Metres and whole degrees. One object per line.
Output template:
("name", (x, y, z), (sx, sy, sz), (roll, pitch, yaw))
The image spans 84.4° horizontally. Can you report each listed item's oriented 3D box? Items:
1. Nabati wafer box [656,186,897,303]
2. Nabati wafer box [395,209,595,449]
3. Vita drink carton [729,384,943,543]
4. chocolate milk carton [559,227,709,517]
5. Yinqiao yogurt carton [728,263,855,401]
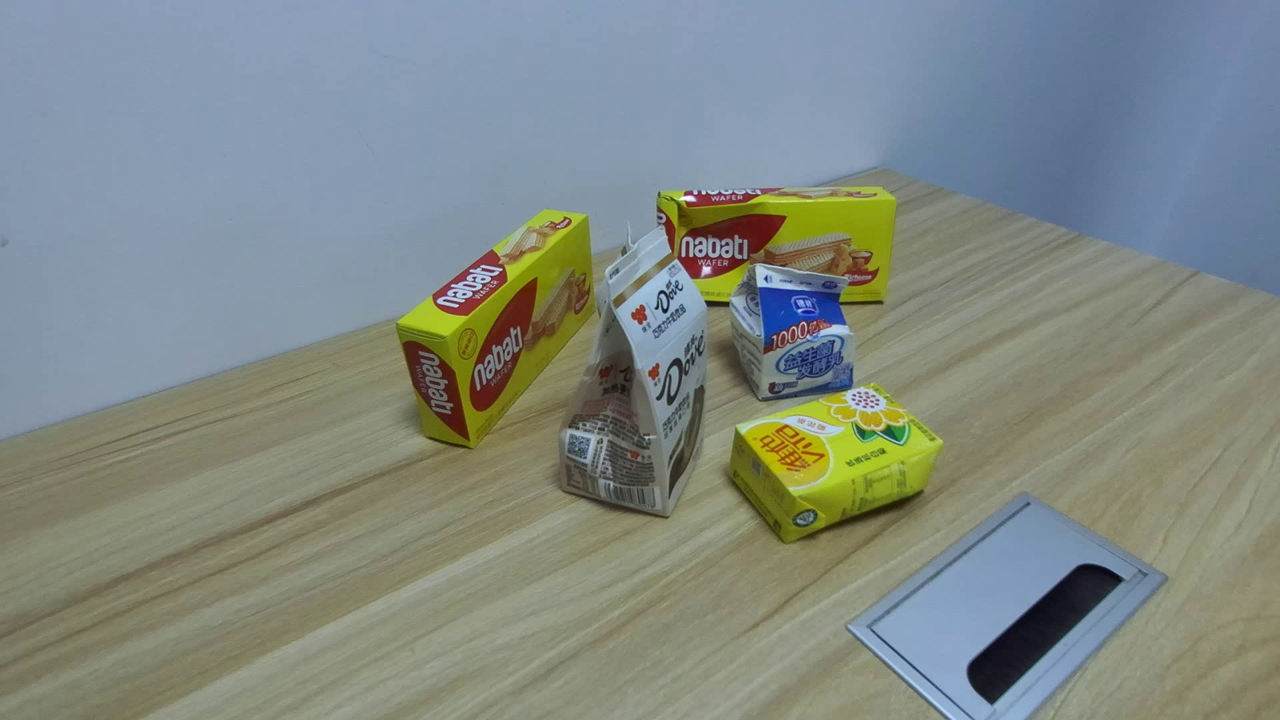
("Nabati wafer box", (0.117, -0.099, 0.619), (0.203, 0.096, 0.042), (-1, 24, -2))
("Nabati wafer box", (-0.096, -0.033, 0.536), (0.042, 0.093, 0.203), (11, 36, 19))
("Vita drink carton", (0.118, 0.062, 0.426), (0.109, 0.043, 0.076), (-14, 39, -22))
("chocolate milk carton", (-0.005, 0.007, 0.414), (0.073, 0.155, 0.084), (11, 36, 18))
("Yinqiao yogurt carton", (0.111, -0.031, 0.515), (0.083, 0.093, 0.077), (-6, 35, -7))
